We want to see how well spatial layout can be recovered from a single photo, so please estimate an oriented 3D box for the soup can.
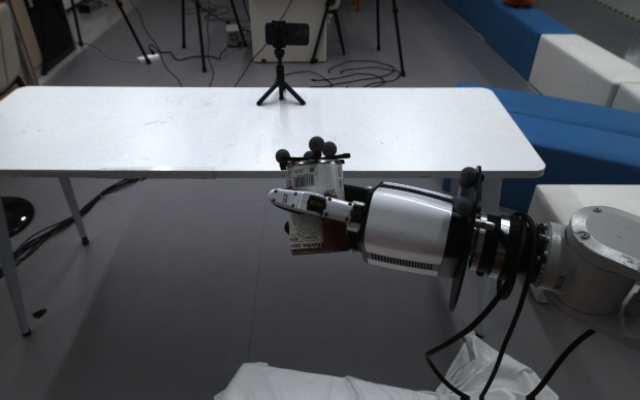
[{"bbox_3d":[-0.001,0.010,0.553,0.067,0.101,0.067,-5,-5,0],"label":"soup can"}]
